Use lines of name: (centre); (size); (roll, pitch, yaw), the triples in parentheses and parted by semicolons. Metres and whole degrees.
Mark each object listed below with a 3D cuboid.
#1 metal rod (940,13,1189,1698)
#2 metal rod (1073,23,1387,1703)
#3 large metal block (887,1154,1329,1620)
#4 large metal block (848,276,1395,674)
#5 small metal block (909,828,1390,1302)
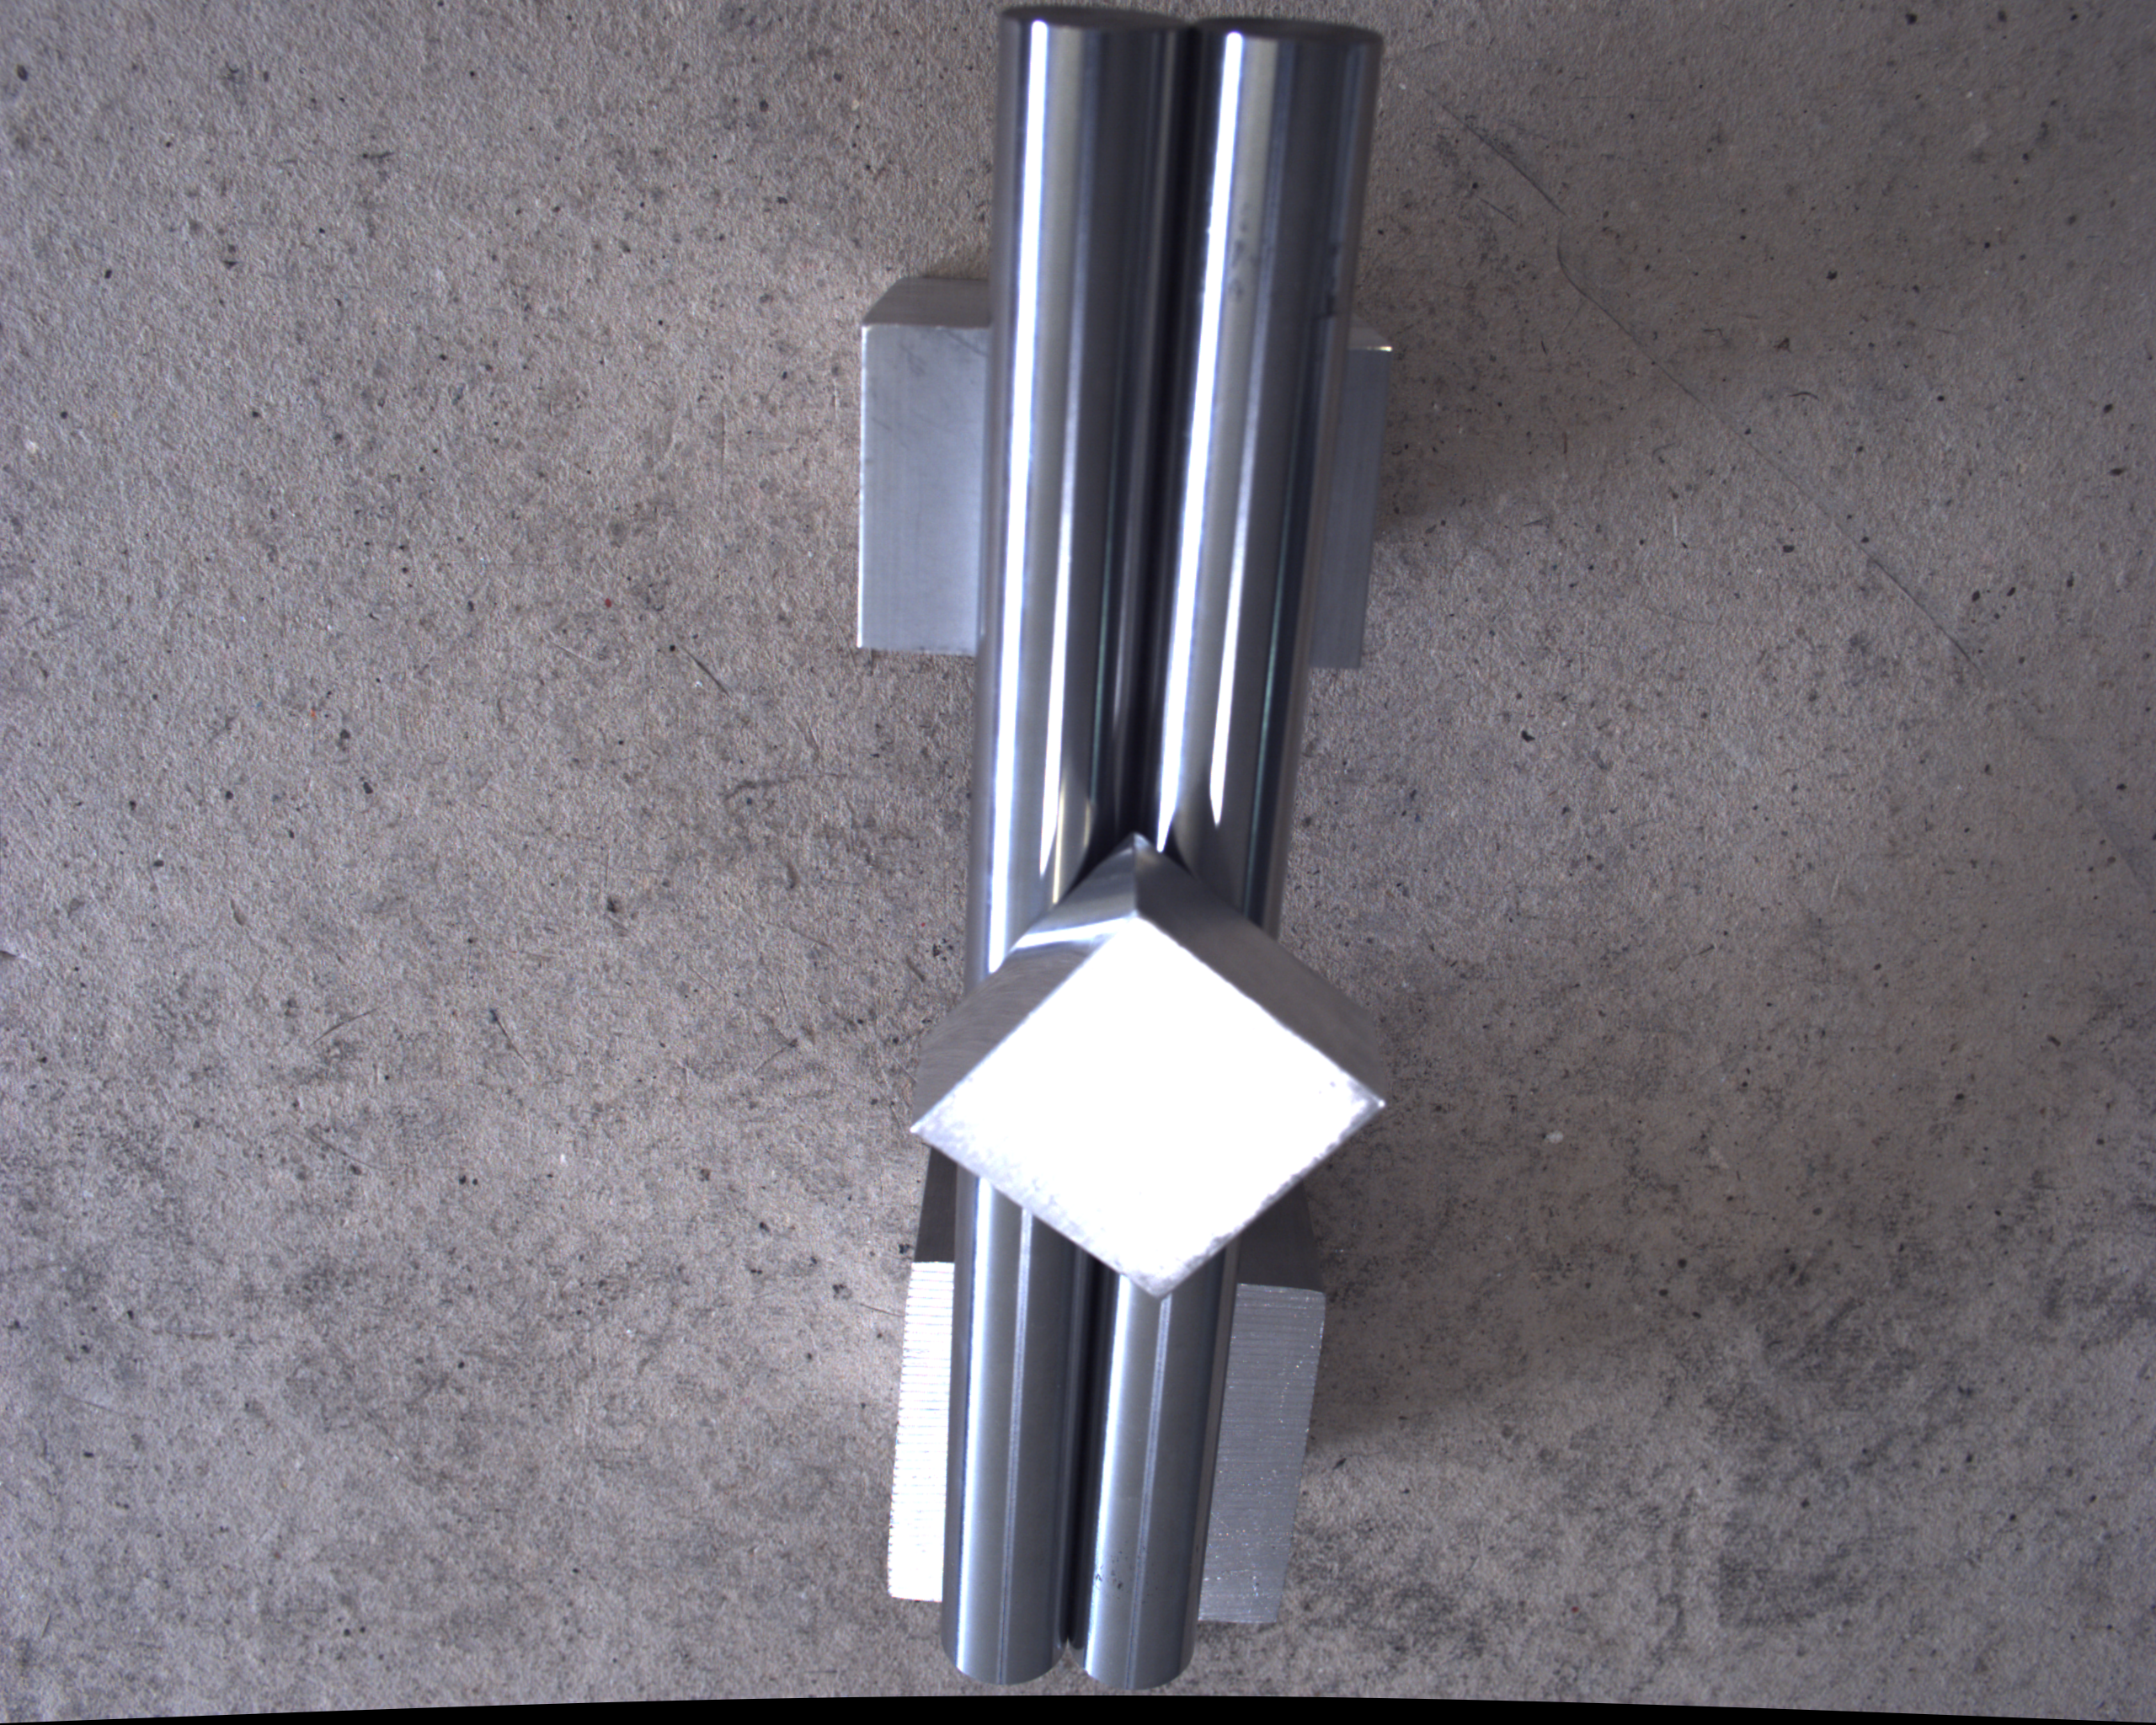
metal rod: (-0.006, 0.022, 0.341); (0.025, 0.025, 0.298); (3, 117, -1)
metal rod: (0.020, 0.023, 0.342); (0.025, 0.025, 0.298); (3, 117, -1)
large metal block: (0.005, 0.106, 0.436); (0.081, 0.050, 0.079); (5, 110, -2)
large metal block: (0.006, -0.069, 0.357); (0.081, 0.080, 0.050); (3, 110, -1)
small metal block: (0.010, 0.032, 0.319); (0.050, 0.025, 0.050); (38, 111, -19)
